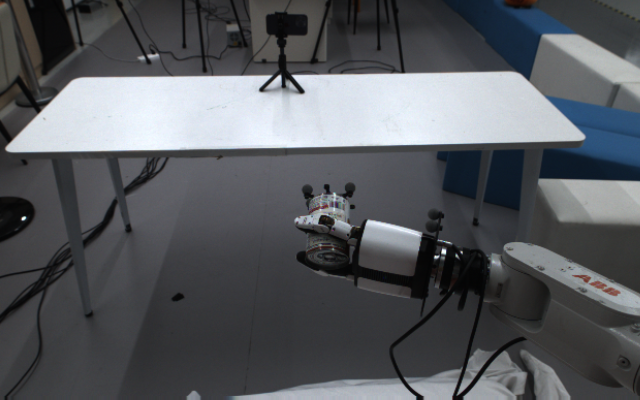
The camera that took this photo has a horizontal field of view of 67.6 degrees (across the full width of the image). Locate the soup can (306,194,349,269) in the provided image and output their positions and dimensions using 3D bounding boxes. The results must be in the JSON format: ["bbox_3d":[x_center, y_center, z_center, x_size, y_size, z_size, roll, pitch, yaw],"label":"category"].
[{"bbox_3d":[0.014,0.048,0.745,0.067,0.067,0.101,3,57,1],"label":"soup can"}]
